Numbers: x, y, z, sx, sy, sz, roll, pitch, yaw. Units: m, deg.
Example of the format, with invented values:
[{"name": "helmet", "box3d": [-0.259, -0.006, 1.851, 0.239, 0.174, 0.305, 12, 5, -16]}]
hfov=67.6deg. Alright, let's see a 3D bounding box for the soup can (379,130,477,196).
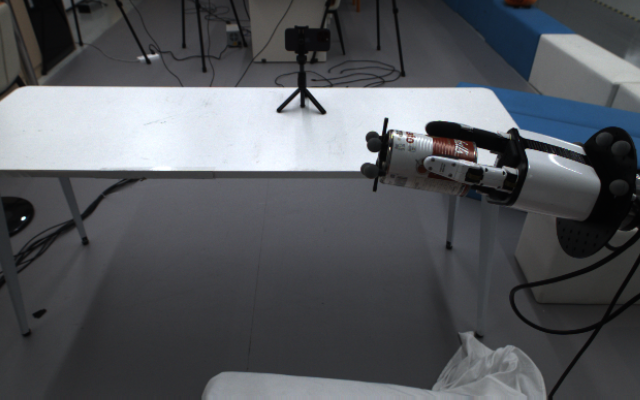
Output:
[{"name": "soup can", "box3d": [0.130, -0.045, 0.583, 0.101, 0.067, 0.067, 9, 35, 1]}]
